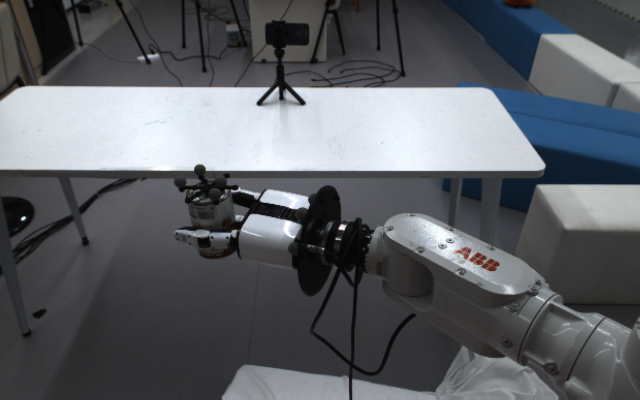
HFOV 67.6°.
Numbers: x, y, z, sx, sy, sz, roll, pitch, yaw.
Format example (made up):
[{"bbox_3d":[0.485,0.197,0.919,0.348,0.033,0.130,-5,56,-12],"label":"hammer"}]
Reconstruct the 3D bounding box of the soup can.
[{"bbox_3d":[-0.161,0.031,0.735,0.067,0.101,0.067,-1,32,1],"label":"soup can"}]
